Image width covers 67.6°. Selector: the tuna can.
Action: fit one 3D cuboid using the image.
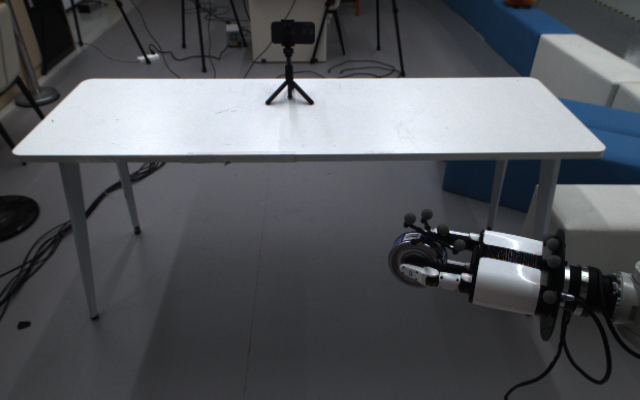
[{"bbox_3d":[0.150,0.089,0.737,0.085,0.085,0.034,15,31,18],"label":"tuna can"}]
